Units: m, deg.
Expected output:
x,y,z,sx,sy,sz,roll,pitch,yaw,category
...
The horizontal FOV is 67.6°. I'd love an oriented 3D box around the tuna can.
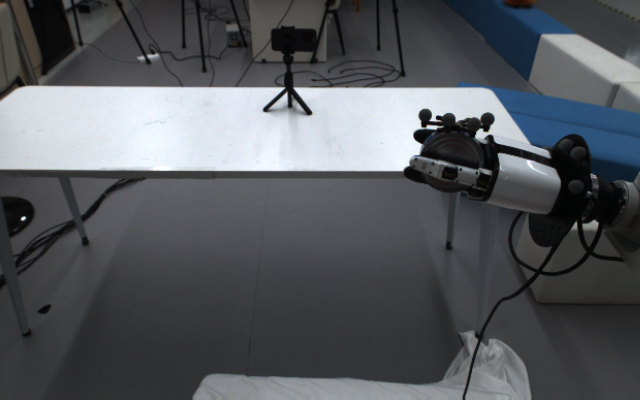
x,y,z,sx,sy,sz,roll,pitch,yaw,category
0.180,-0.058,0.665,0.085,0.085,0.034,9,24,10,tuna can
